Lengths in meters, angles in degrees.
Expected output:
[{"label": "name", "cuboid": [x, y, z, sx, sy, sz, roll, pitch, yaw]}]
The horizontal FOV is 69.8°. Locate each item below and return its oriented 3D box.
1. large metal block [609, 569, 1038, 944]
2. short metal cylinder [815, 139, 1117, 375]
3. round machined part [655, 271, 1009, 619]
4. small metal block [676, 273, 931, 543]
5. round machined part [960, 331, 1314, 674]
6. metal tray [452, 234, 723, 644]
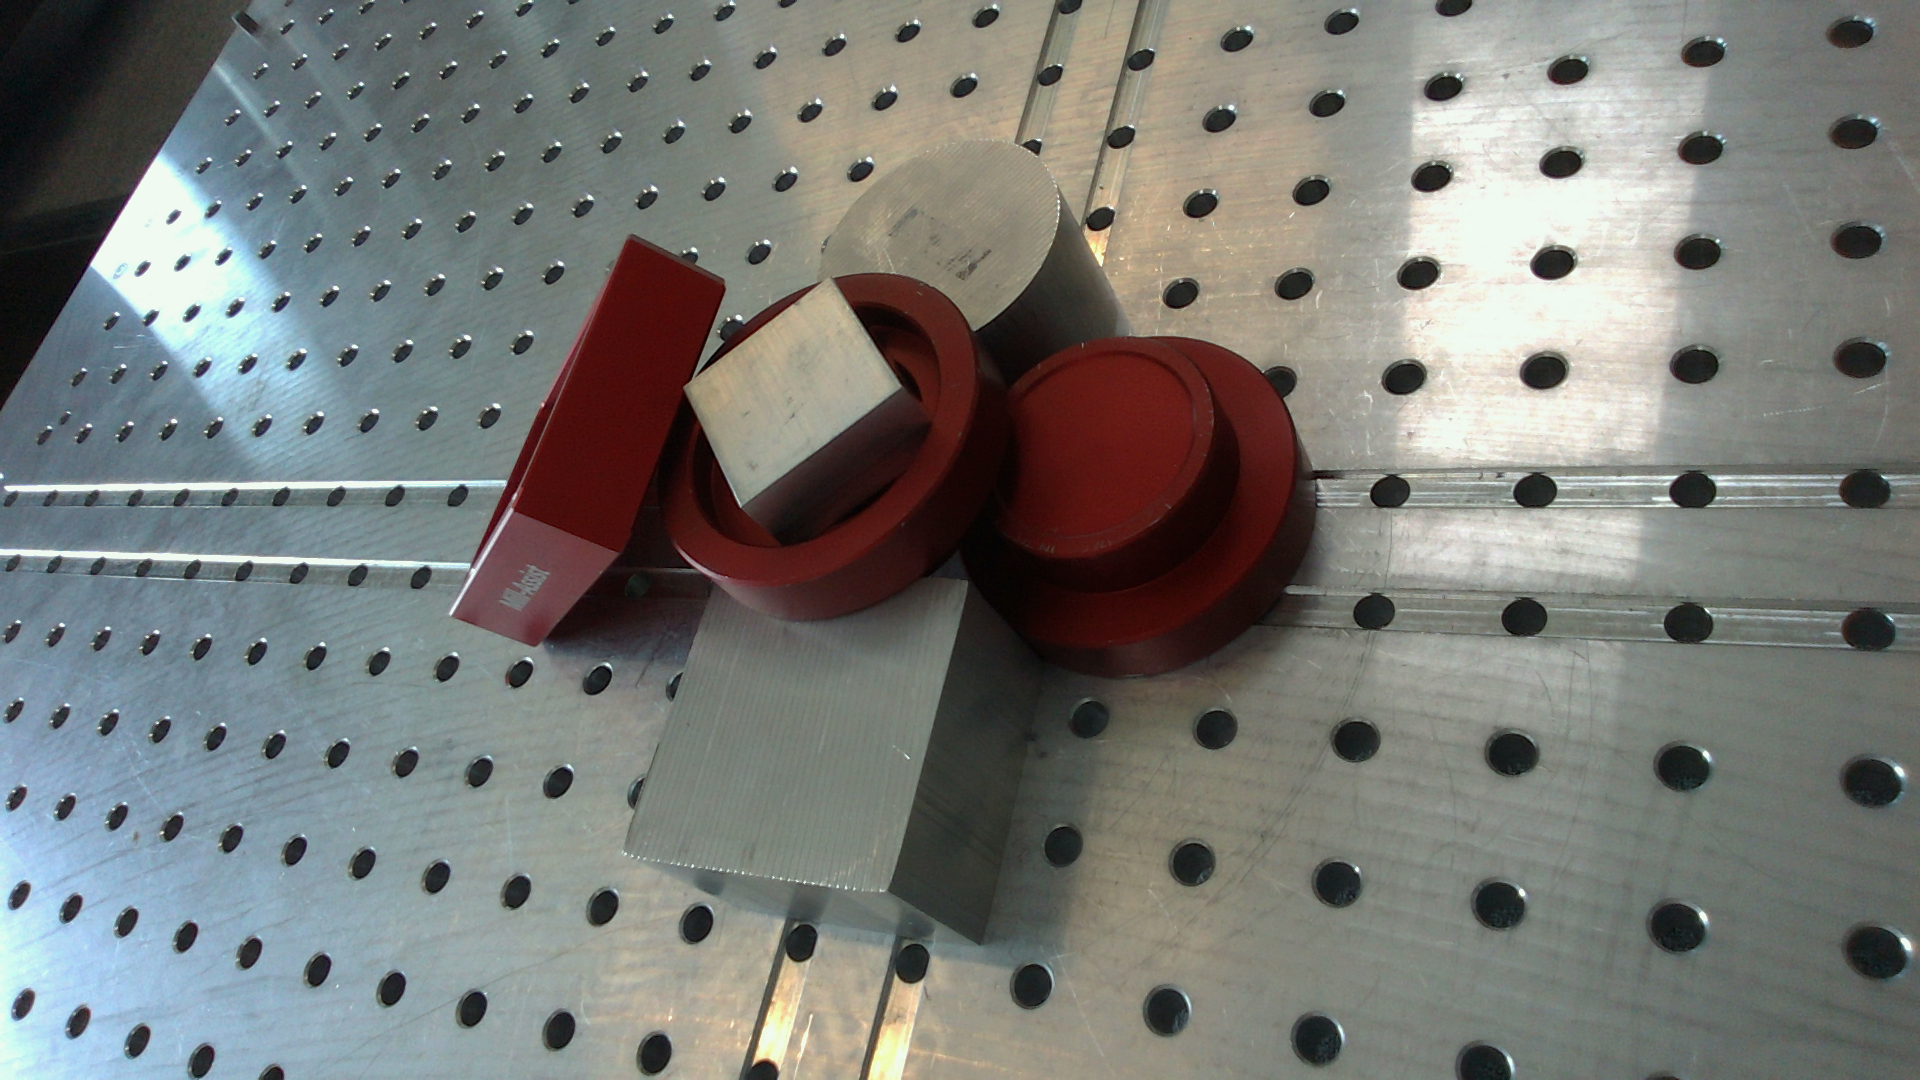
[{"label": "large metal block", "cuboid": [-0.033, 0.054, 0.361, 0.080, 0.050, 0.080, 1, 62, 29]}, {"label": "short metal cylinder", "cuboid": [0.002, -0.076, 0.426, 0.080, 0.050, 0.080, -13, 56, 21]}, {"label": "round machined part", "cuboid": [-0.031, -0.022, 0.379, 0.098, 0.042, 0.098, -13, 56, 21]}, {"label": "small metal block", "cuboid": [-0.040, -0.033, 0.359, 0.050, 0.025, 0.050, -36, 51, 4]}, {"label": "round machined part", "cuboid": [0.042, -0.017, 0.372, 0.098, 0.042, 0.098, -13, 56, 21]}, {"label": "metal tray", "cuboid": [-0.119, -0.026, 0.427, 0.130, 0.030, 0.090, -32, 38, 58]}]
